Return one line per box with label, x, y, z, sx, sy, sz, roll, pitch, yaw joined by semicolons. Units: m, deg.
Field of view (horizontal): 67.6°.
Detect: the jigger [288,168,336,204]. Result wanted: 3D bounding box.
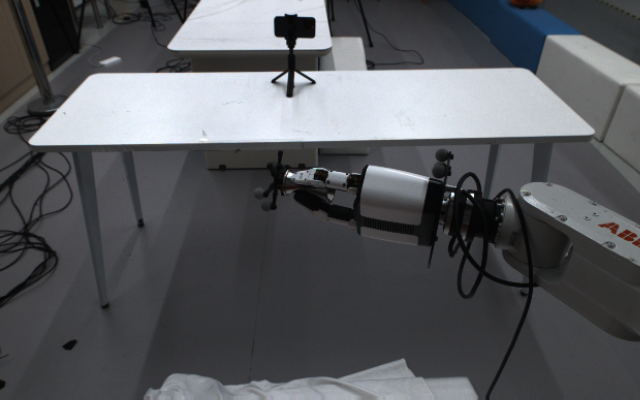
jigger;-0.009;-0.025;0.697;0.071;0.043;0.043;9;35;16
